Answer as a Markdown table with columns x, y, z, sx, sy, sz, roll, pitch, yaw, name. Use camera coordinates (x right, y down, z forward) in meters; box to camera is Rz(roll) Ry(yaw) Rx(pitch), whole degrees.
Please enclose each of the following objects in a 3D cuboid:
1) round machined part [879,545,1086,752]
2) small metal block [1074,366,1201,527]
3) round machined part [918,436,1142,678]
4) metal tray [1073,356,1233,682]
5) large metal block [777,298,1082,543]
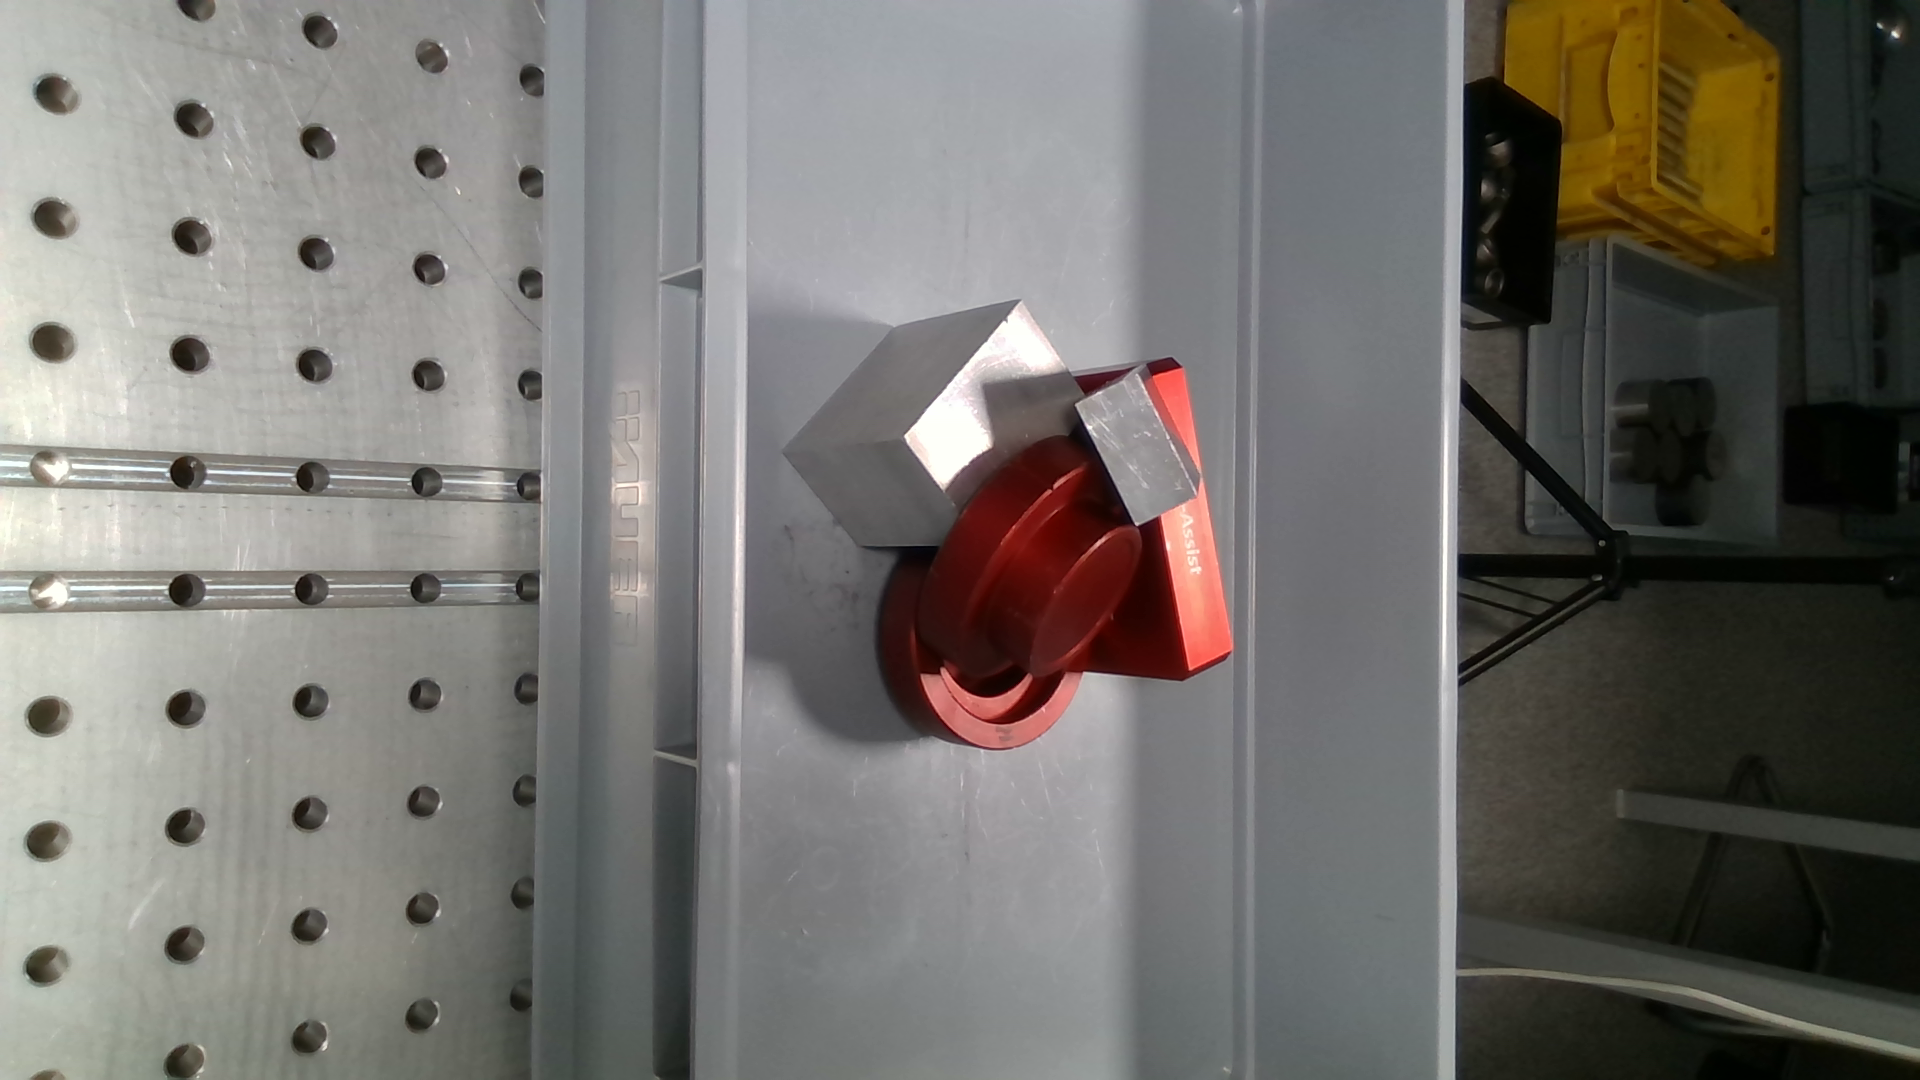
| x | y | z | sx | sy | sz | roll | pitch | yaw | name |
| --- | --- | --- | --- | --- | --- | --- | --- | --- | --- |
| 0.005 | 0.038 | 0.577 | 0.098 | 0.042 | 0.098 | 0 | 90 | -40 | round machined part |
| 0.068 | -0.037 | 0.518 | 0.050 | 0.025 | 0.050 | 63 | 15 | -6 | small metal block |
| 0.032 | 0.013 | 0.522 | 0.098 | 0.042 | 0.098 | -42 | 154 | -26 | round machined part |
| 0.063 | -0.008 | 0.592 | 0.030 | 0.090 | 0.130 | -20 | 102 | -38 | metal tray |
| -0.010 | -0.045 | 0.537 | 0.080 | 0.080 | 0.050 | -52 | 120 | -28 | large metal block |
